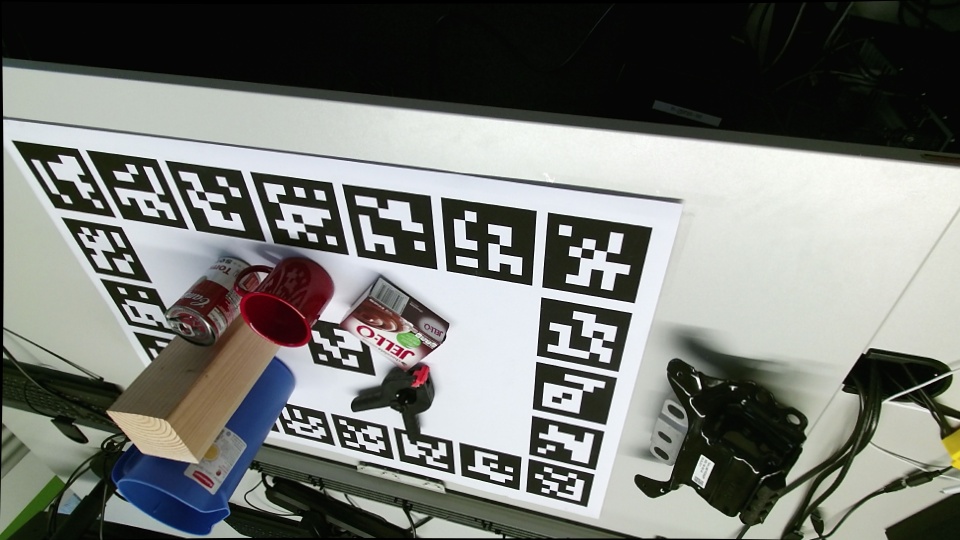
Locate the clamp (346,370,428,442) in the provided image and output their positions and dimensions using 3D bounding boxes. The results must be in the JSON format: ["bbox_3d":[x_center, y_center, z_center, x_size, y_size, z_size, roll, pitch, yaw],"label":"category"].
[{"bbox_3d":[-0.125,0.199,0.794,0.122,0.036,0.165,35,130,-2],"label":"clamp"}]

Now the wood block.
[{"bbox_3d":[-0.373,0.147,0.707,0.090,0.205,0.091,8,130,16],"label":"wood block"}]

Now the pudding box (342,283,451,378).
[{"bbox_3d":[-0.108,0.079,0.685,0.114,0.038,0.090,36,126,-14],"label":"pudding box"}]

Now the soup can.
[{"bbox_3d":[-0.346,0.048,0.687,0.068,0.102,0.068,8,127,11],"label":"soup can"}]

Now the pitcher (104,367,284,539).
[{"bbox_3d":[-0.399,0.248,0.777,0.189,0.241,0.133,6,131,10],"label":"pitcher"}]

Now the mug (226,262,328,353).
[{"bbox_3d":[-0.253,0.038,0.665,0.117,0.081,0.093,35,132,-13],"label":"mug"}]
